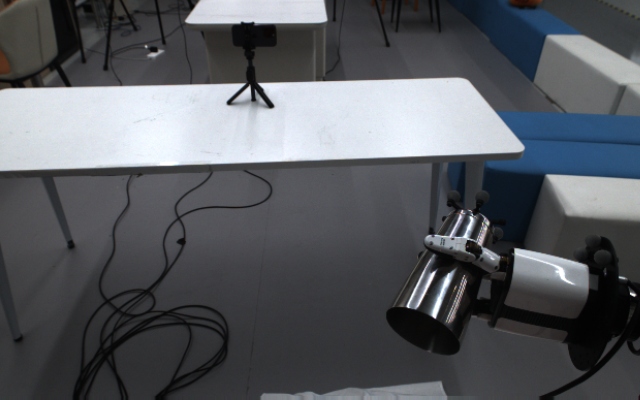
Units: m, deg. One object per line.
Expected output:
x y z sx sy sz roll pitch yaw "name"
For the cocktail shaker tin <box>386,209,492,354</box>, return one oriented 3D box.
0.162 0.088 0.601 0.093 0.093 0.170 19 54 23 "cocktail shaker tin"
